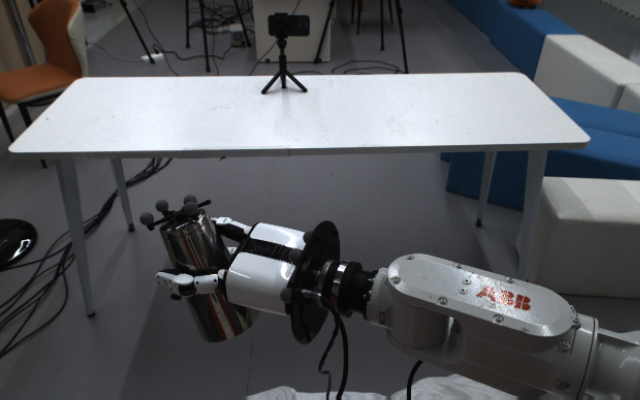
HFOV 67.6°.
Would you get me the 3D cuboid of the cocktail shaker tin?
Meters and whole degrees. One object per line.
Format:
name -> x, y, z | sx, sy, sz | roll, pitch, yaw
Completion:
cocktail shaker tin -> -0.156, 0.101, 0.673 | 0.093, 0.170, 0.093 | -17, 21, 7
